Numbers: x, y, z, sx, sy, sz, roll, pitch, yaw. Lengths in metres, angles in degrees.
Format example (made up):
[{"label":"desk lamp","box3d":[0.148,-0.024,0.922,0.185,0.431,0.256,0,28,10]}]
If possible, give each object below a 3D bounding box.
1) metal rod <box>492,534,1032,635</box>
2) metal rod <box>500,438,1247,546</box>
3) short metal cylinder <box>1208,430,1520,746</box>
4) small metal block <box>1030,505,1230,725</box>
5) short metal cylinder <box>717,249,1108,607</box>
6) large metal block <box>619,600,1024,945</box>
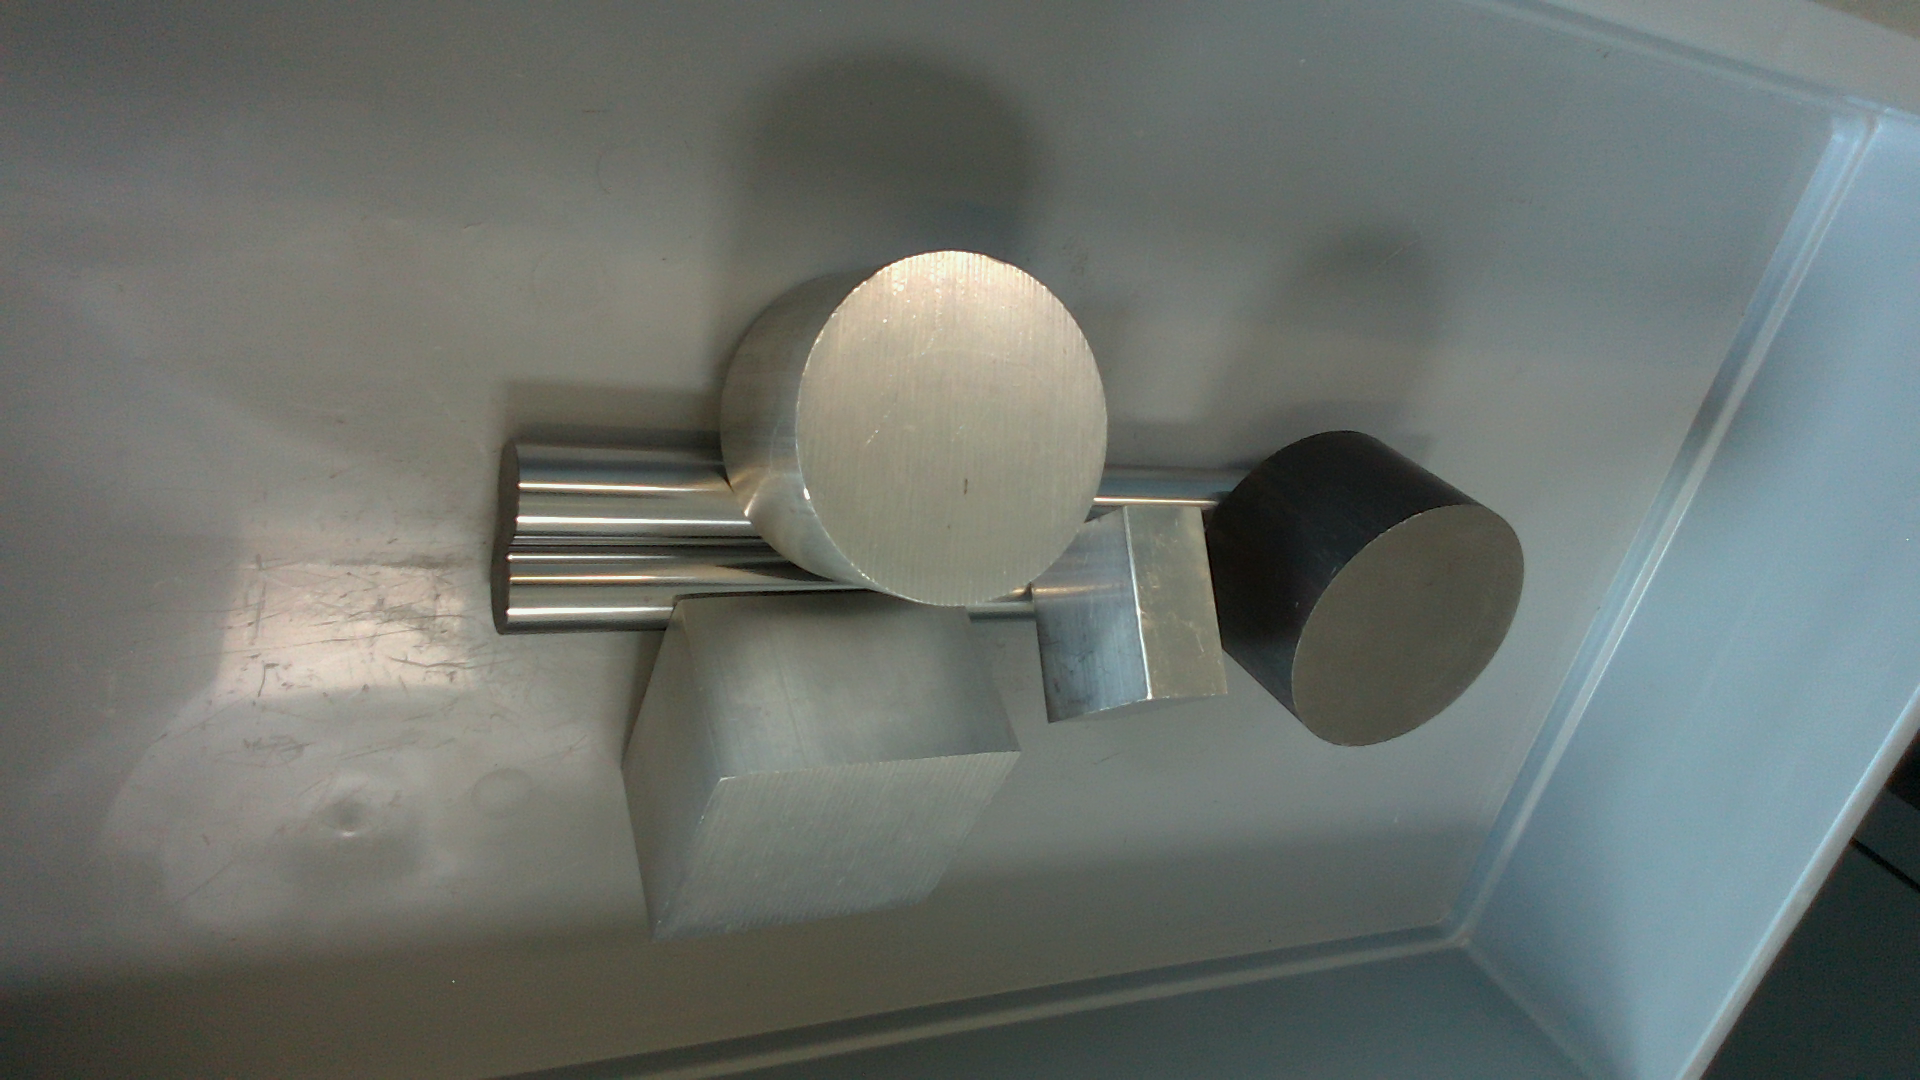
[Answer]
[{"label":"metal rod","box3d":[0.020,0.011,0.406,0.301,0.025,0.025,0,118,-29]},{"label":"metal rod","box3d":[0.026,-0.010,0.396,0.301,0.025,0.025,0,118,-29]},{"label":"short metal cylinder","box3d":[0.118,0.014,0.412,0.080,0.050,0.080,-14,124,-21]},{"label":"small metal block","box3d":[0.044,0.021,0.372,0.025,0.050,0.050,0,76,-29]},{"label":"short metal cylinder","box3d":[-0.012,-0.027,0.331,0.080,0.050,0.080,-3,96,-29]},{"label":"large metal block","box3d":[-0.041,0.061,0.369,0.080,0.050,0.080,-1,139,-28]}]
